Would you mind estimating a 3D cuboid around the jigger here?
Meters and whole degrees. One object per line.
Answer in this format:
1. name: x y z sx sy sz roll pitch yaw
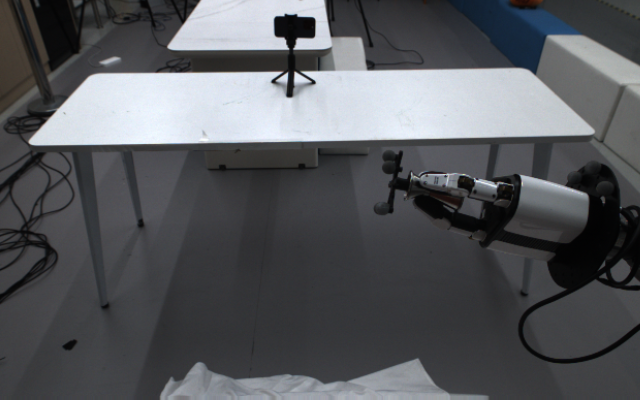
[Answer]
1. jigger: 0.151 -0.015 0.613 0.071 0.043 0.043 11 35 2
